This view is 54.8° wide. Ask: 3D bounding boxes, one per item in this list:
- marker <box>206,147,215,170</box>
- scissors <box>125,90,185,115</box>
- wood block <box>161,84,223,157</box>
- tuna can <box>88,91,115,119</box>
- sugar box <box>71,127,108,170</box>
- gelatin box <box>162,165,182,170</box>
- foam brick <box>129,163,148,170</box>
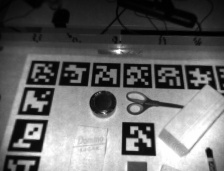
[{"bbox_3d":[0.288,0.239,0.623,0.019,0.020,0.120,2,65,3],"label":"marker"},{"bbox_3d":[0.140,0.064,0.718,0.202,0.016,0.087,6,63,7],"label":"scissors"},{"bbox_3d":[0.253,0.105,0.657,0.207,0.091,0.089,-41,68,-19],"label":"wood block"},{"bbox_3d":[-0.034,0.064,0.707,0.086,0.034,0.085,0,63,1],"label":"tuna can"},{"bbox_3d":[-0.066,0.213,0.630,0.093,0.045,0.176,5,63,3],"label":"sugar box"},{"bbox_3d":[0.178,0.272,0.603,0.089,0.030,0.073,18,65,10],"label":"gelatin box"},{"bbox_3d":[0.074,0.256,0.596,0.052,0.051,0.078,2,64,3],"label":"foam brick"}]
